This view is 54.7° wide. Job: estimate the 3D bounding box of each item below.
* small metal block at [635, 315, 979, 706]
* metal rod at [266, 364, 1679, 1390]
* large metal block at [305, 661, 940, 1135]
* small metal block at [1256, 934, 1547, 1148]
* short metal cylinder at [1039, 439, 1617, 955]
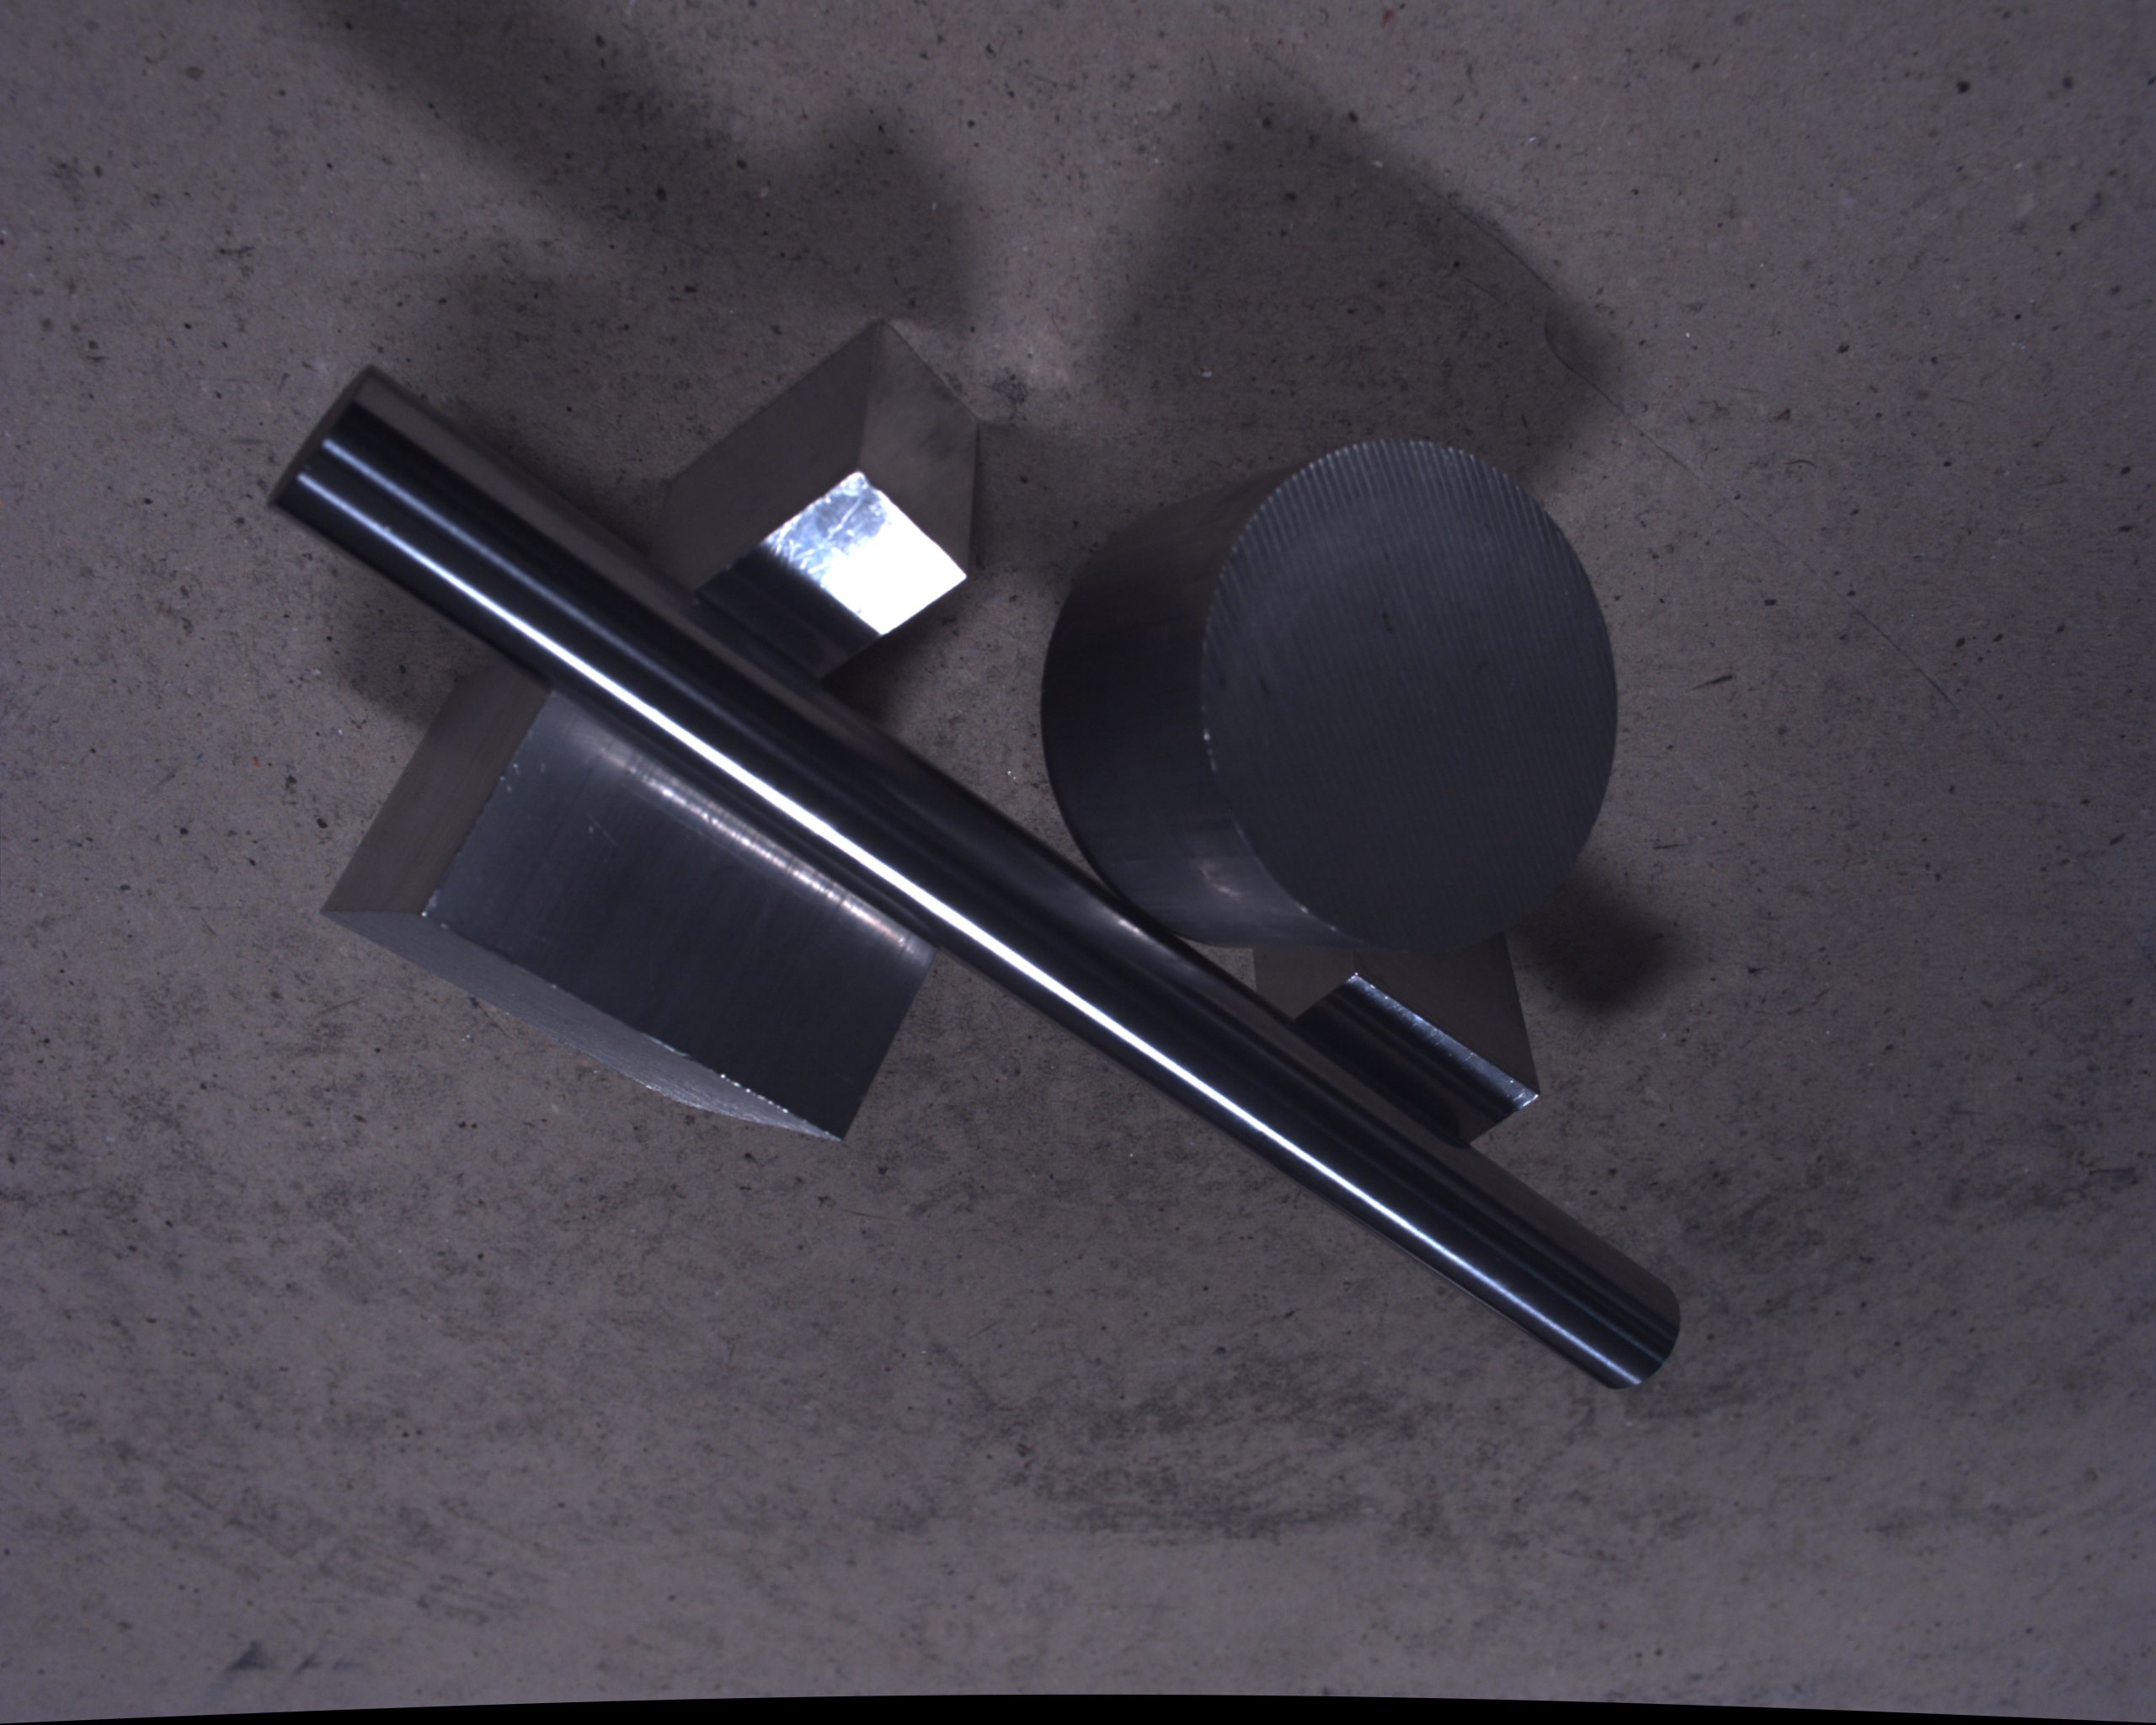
[{"bbox_3d":[-0.044,-0.056,0.345,0.050,0.050,0.025,-31,124,23],"label":"small metal block"},{"bbox_3d":[0.003,0.018,0.359,0.301,0.025,0.025,36,121,-27],"label":"metal rod"},{"bbox_3d":[-0.081,0.005,0.372,0.080,0.050,0.080,33,163,-26],"label":"large metal block"},{"bbox_3d":[0.062,0.025,0.411,0.050,0.050,0.025,33,122,-25],"label":"small metal block"},{"bbox_3d":[0.041,-0.025,0.344,0.080,0.080,0.050,32,164,-24],"label":"short metal cylinder"}]
